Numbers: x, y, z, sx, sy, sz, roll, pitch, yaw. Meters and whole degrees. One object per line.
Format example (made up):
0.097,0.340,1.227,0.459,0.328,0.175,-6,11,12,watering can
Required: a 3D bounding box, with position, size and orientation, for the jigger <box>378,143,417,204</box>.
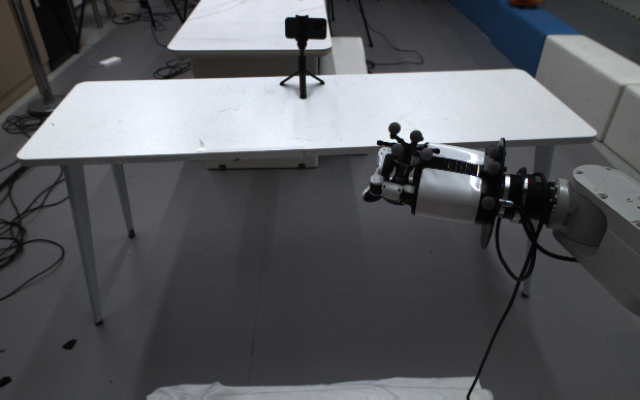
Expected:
0.119,-0.032,0.712,0.043,0.071,0.043,7,32,-4,jigger
